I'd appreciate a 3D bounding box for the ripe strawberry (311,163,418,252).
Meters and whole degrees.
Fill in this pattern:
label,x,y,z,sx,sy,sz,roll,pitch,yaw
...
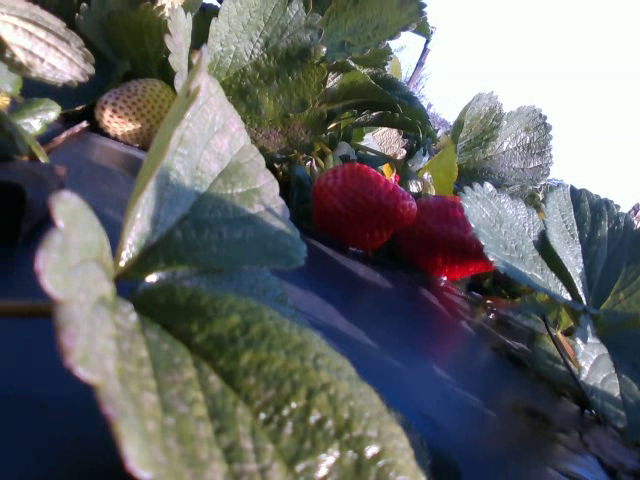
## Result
label,x,y,z,sx,sy,sz,roll,pitch,yaw
ripe strawberry,0.018,-0.013,0.229,0.052,0.036,0.043,17,32,42

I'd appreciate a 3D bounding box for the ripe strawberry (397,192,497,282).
label,x,y,z,sx,sy,sz,roll,pitch,yaw
ripe strawberry,0.062,0.001,0.259,0.052,0.046,0.058,-15,21,-37
